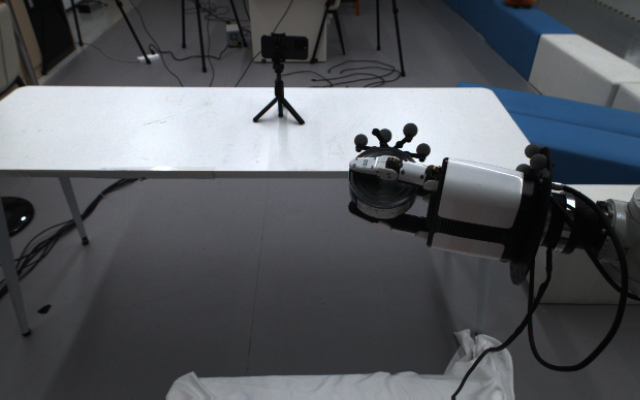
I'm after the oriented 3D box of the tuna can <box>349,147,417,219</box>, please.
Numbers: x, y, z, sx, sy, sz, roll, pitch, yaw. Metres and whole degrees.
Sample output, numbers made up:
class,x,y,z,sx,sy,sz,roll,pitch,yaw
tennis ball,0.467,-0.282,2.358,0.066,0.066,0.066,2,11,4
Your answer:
class,x,y,z,sx,sy,sz,roll,pitch,yaw
tuna can,0.077,-0.026,0.586,0.085,0.034,0.085,-2,56,3
